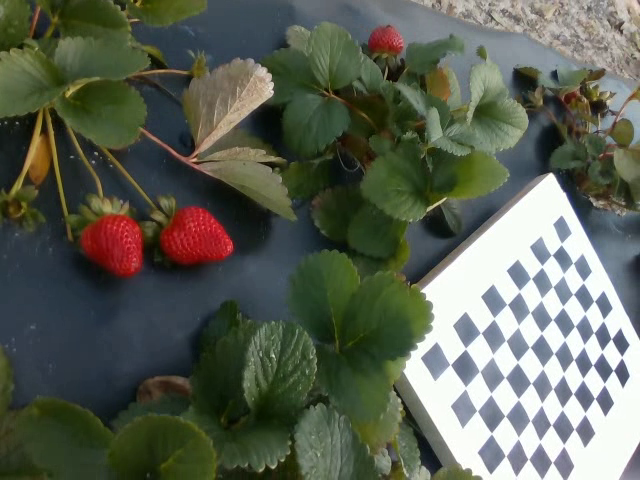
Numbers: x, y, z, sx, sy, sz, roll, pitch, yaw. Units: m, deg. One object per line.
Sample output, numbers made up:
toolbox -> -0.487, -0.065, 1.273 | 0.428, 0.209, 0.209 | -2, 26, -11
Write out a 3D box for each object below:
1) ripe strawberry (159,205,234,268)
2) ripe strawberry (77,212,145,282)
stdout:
ripe strawberry -> -0.096, -0.002, 0.487 | 0.064, 0.058, 0.051 | 24, -33, 11
ripe strawberry -> -0.150, 0.007, 0.456 | 0.048, 0.056, 0.041 | -17, -27, -35
